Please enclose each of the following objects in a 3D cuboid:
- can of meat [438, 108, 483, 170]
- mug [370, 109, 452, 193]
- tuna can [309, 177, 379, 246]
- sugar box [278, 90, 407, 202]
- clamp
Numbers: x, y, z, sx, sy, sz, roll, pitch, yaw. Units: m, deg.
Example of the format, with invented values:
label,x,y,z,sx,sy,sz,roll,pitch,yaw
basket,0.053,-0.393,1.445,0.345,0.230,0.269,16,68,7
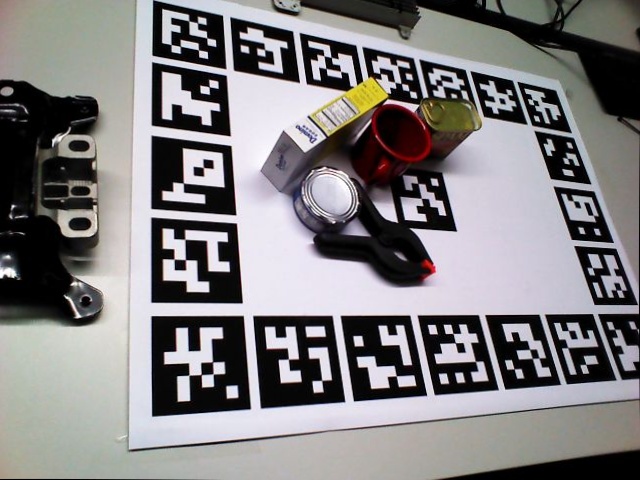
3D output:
label,x,y,z,sx,sy,sz,roll,pitch,yaw
can of meat,0.200,-0.147,0.769,0.101,0.084,0.057,-6,69,-29
mug,0.118,-0.107,0.704,0.093,0.082,0.116,26,61,-13
tuna can,0.030,-0.035,0.661,0.085,0.034,0.085,9,66,-21
sugar box,0.031,-0.124,0.675,0.045,0.093,0.175,48,55,3
clamp,0.105,0.021,0.677,0.165,0.037,0.121,37,53,-11
